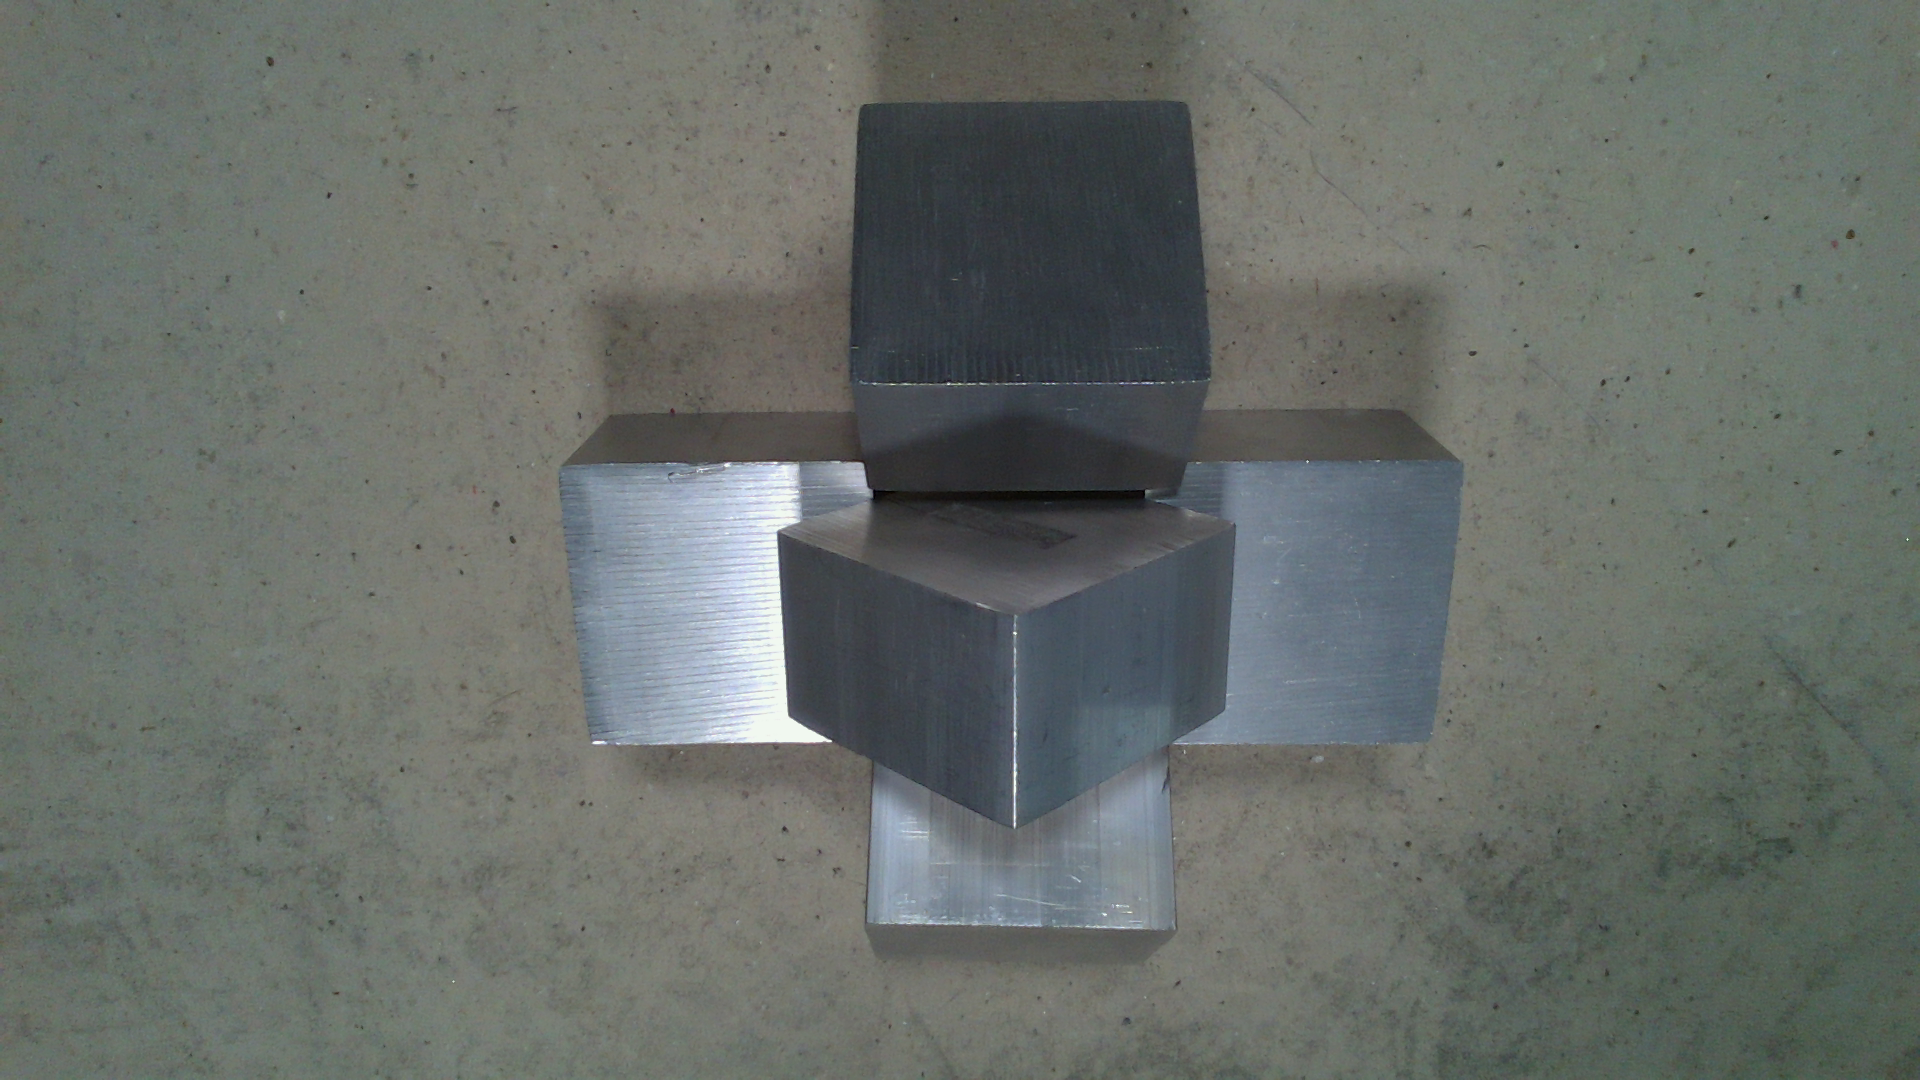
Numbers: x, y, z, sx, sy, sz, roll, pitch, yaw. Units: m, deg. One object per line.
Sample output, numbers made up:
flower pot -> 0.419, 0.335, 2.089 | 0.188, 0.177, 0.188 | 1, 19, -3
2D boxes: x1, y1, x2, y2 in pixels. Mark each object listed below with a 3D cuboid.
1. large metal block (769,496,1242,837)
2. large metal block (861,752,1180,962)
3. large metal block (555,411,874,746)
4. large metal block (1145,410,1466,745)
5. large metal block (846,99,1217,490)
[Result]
large metal block -> 0.011, 0.020, 0.337 | 0.080, 0.080, 0.050 | 18, 117, 41
large metal block -> 0.016, 0.091, 0.392 | 0.080, 0.080, 0.050 | 1, 67, 1
large metal block -> -0.062, 0.009, 0.384 | 0.080, 0.050, 0.080 | -1, 110, 0
large metal block -> 0.087, 0.009, 0.382 | 0.080, 0.050, 0.080 | 0, 110, 0
large metal block -> 0.016, -0.059, 0.337 | 0.080, 0.080, 0.050 | 0, 154, 0
